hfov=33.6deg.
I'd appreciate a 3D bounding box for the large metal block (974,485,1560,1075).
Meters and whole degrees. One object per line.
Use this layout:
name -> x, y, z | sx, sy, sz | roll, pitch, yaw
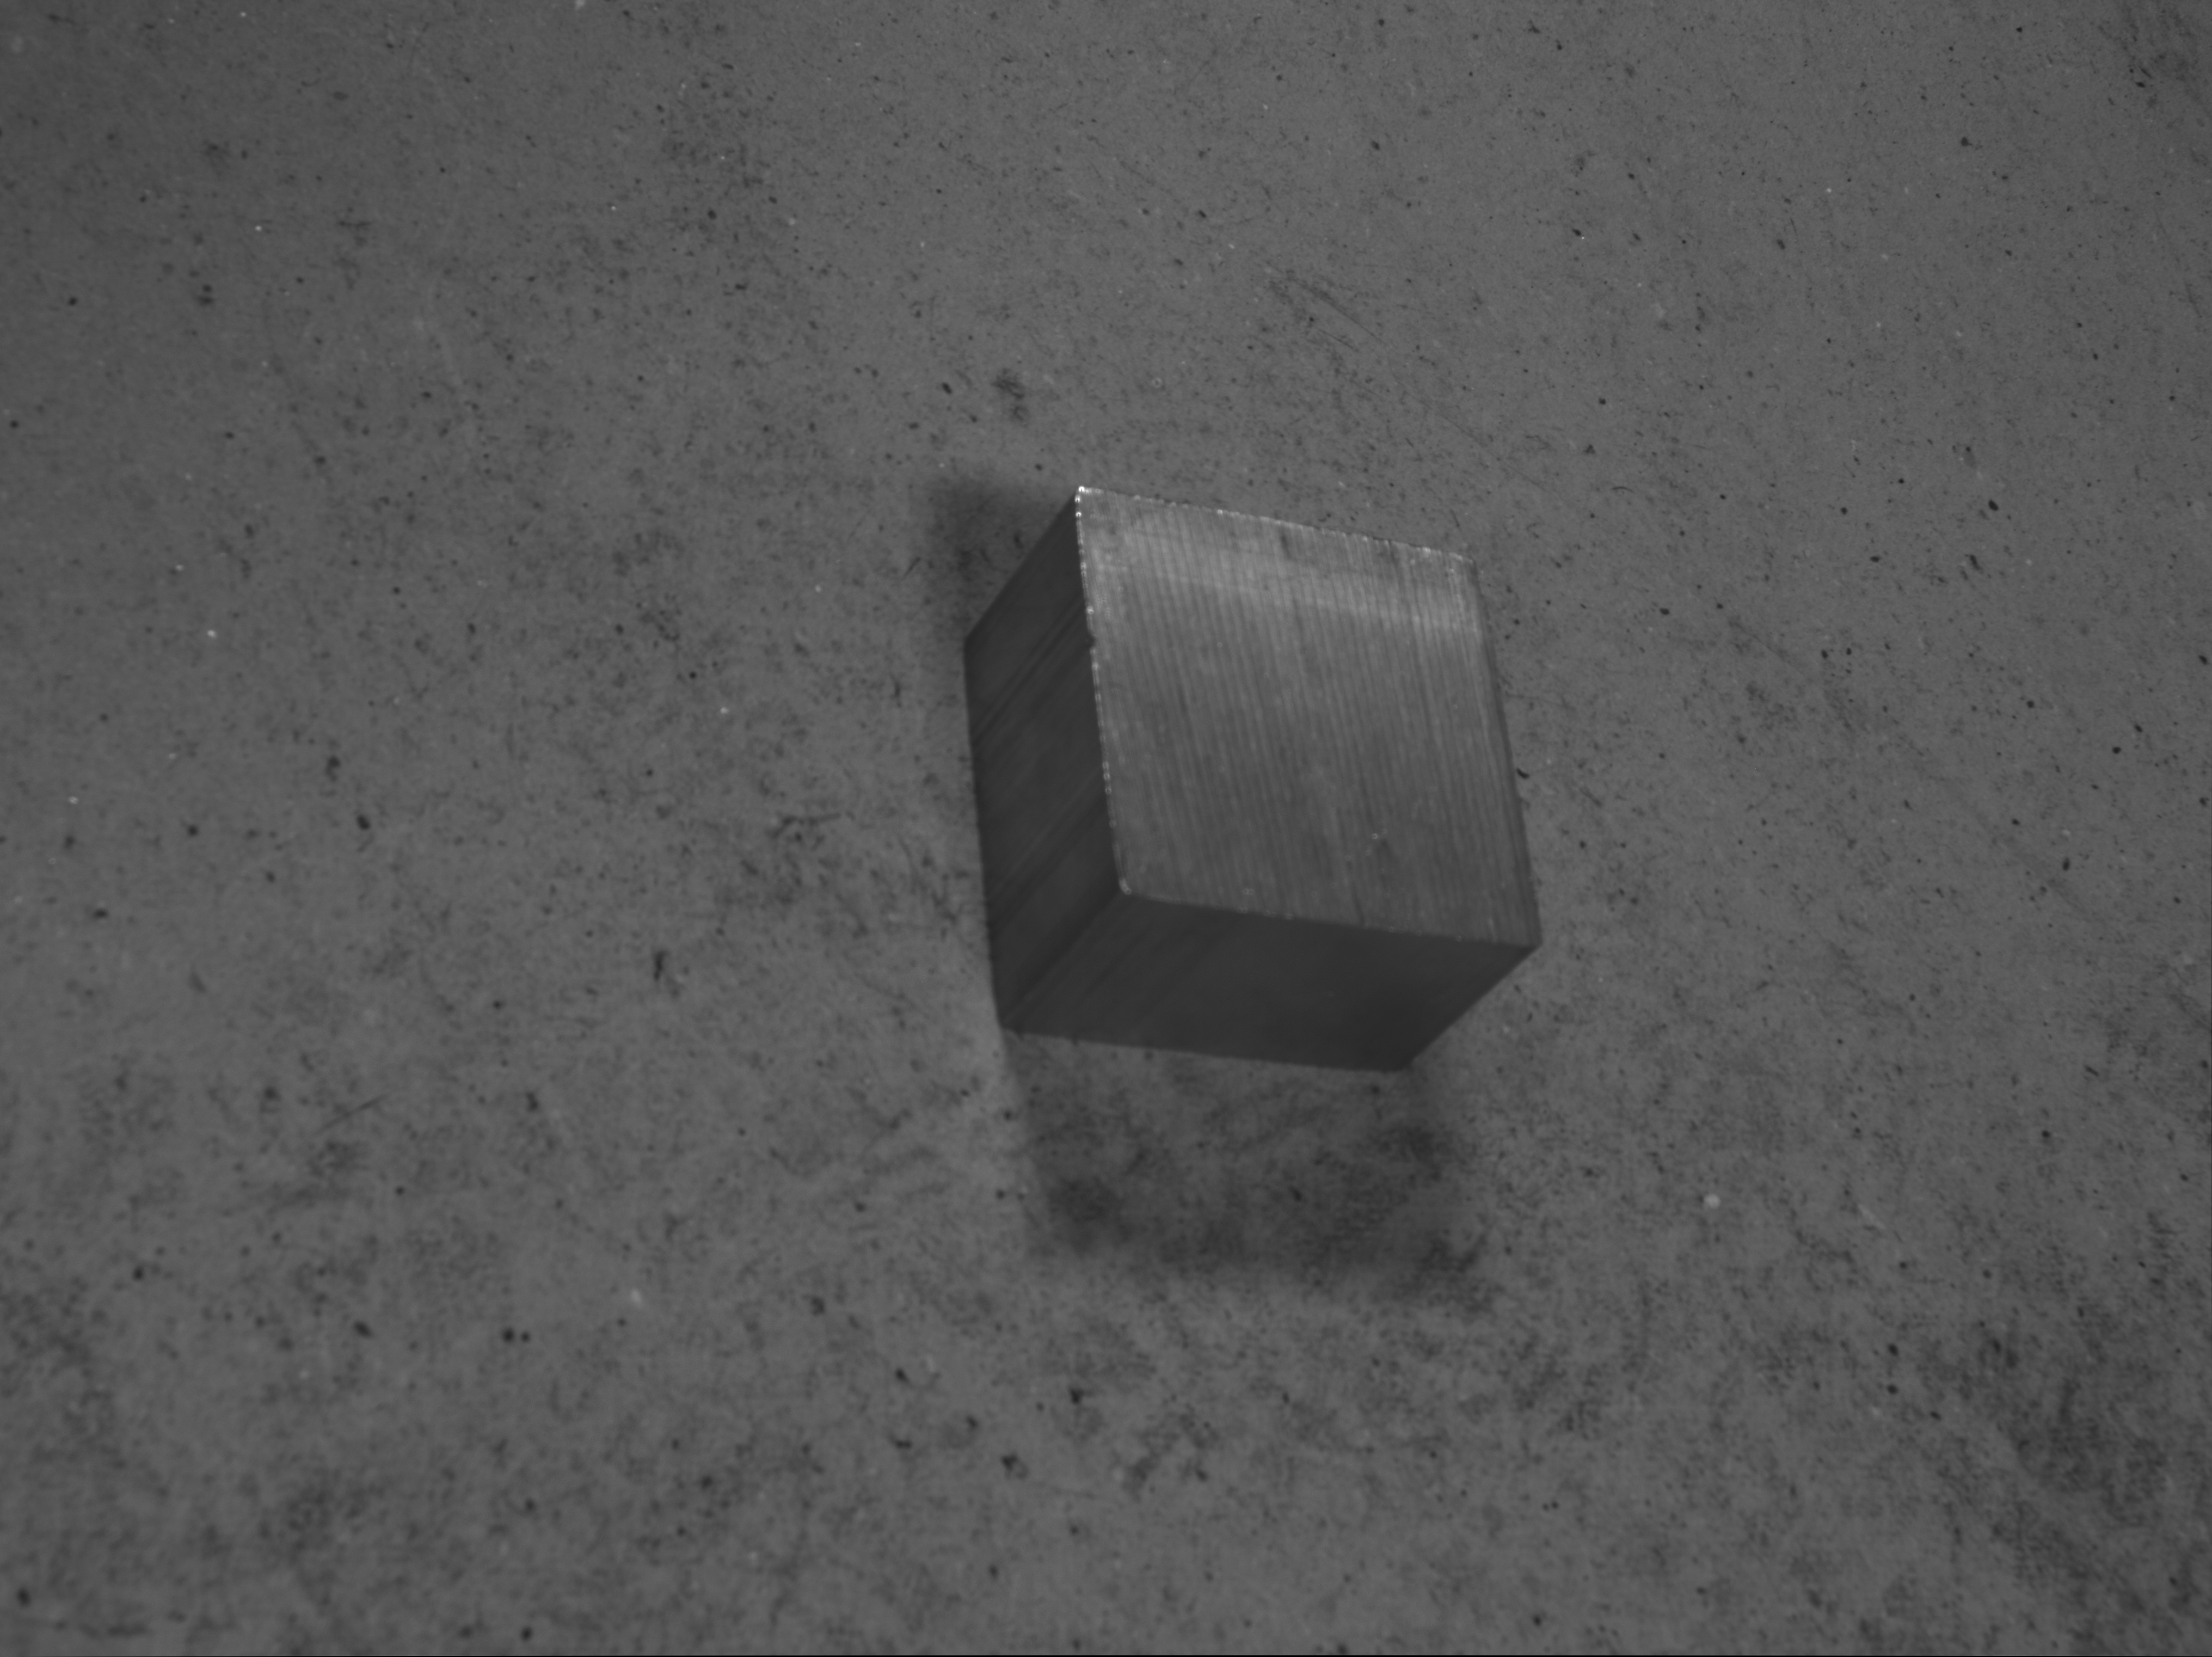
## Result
large metal block -> 0.026, -0.007, 0.643 | 0.080, 0.050, 0.080 | 8, 58, -24
